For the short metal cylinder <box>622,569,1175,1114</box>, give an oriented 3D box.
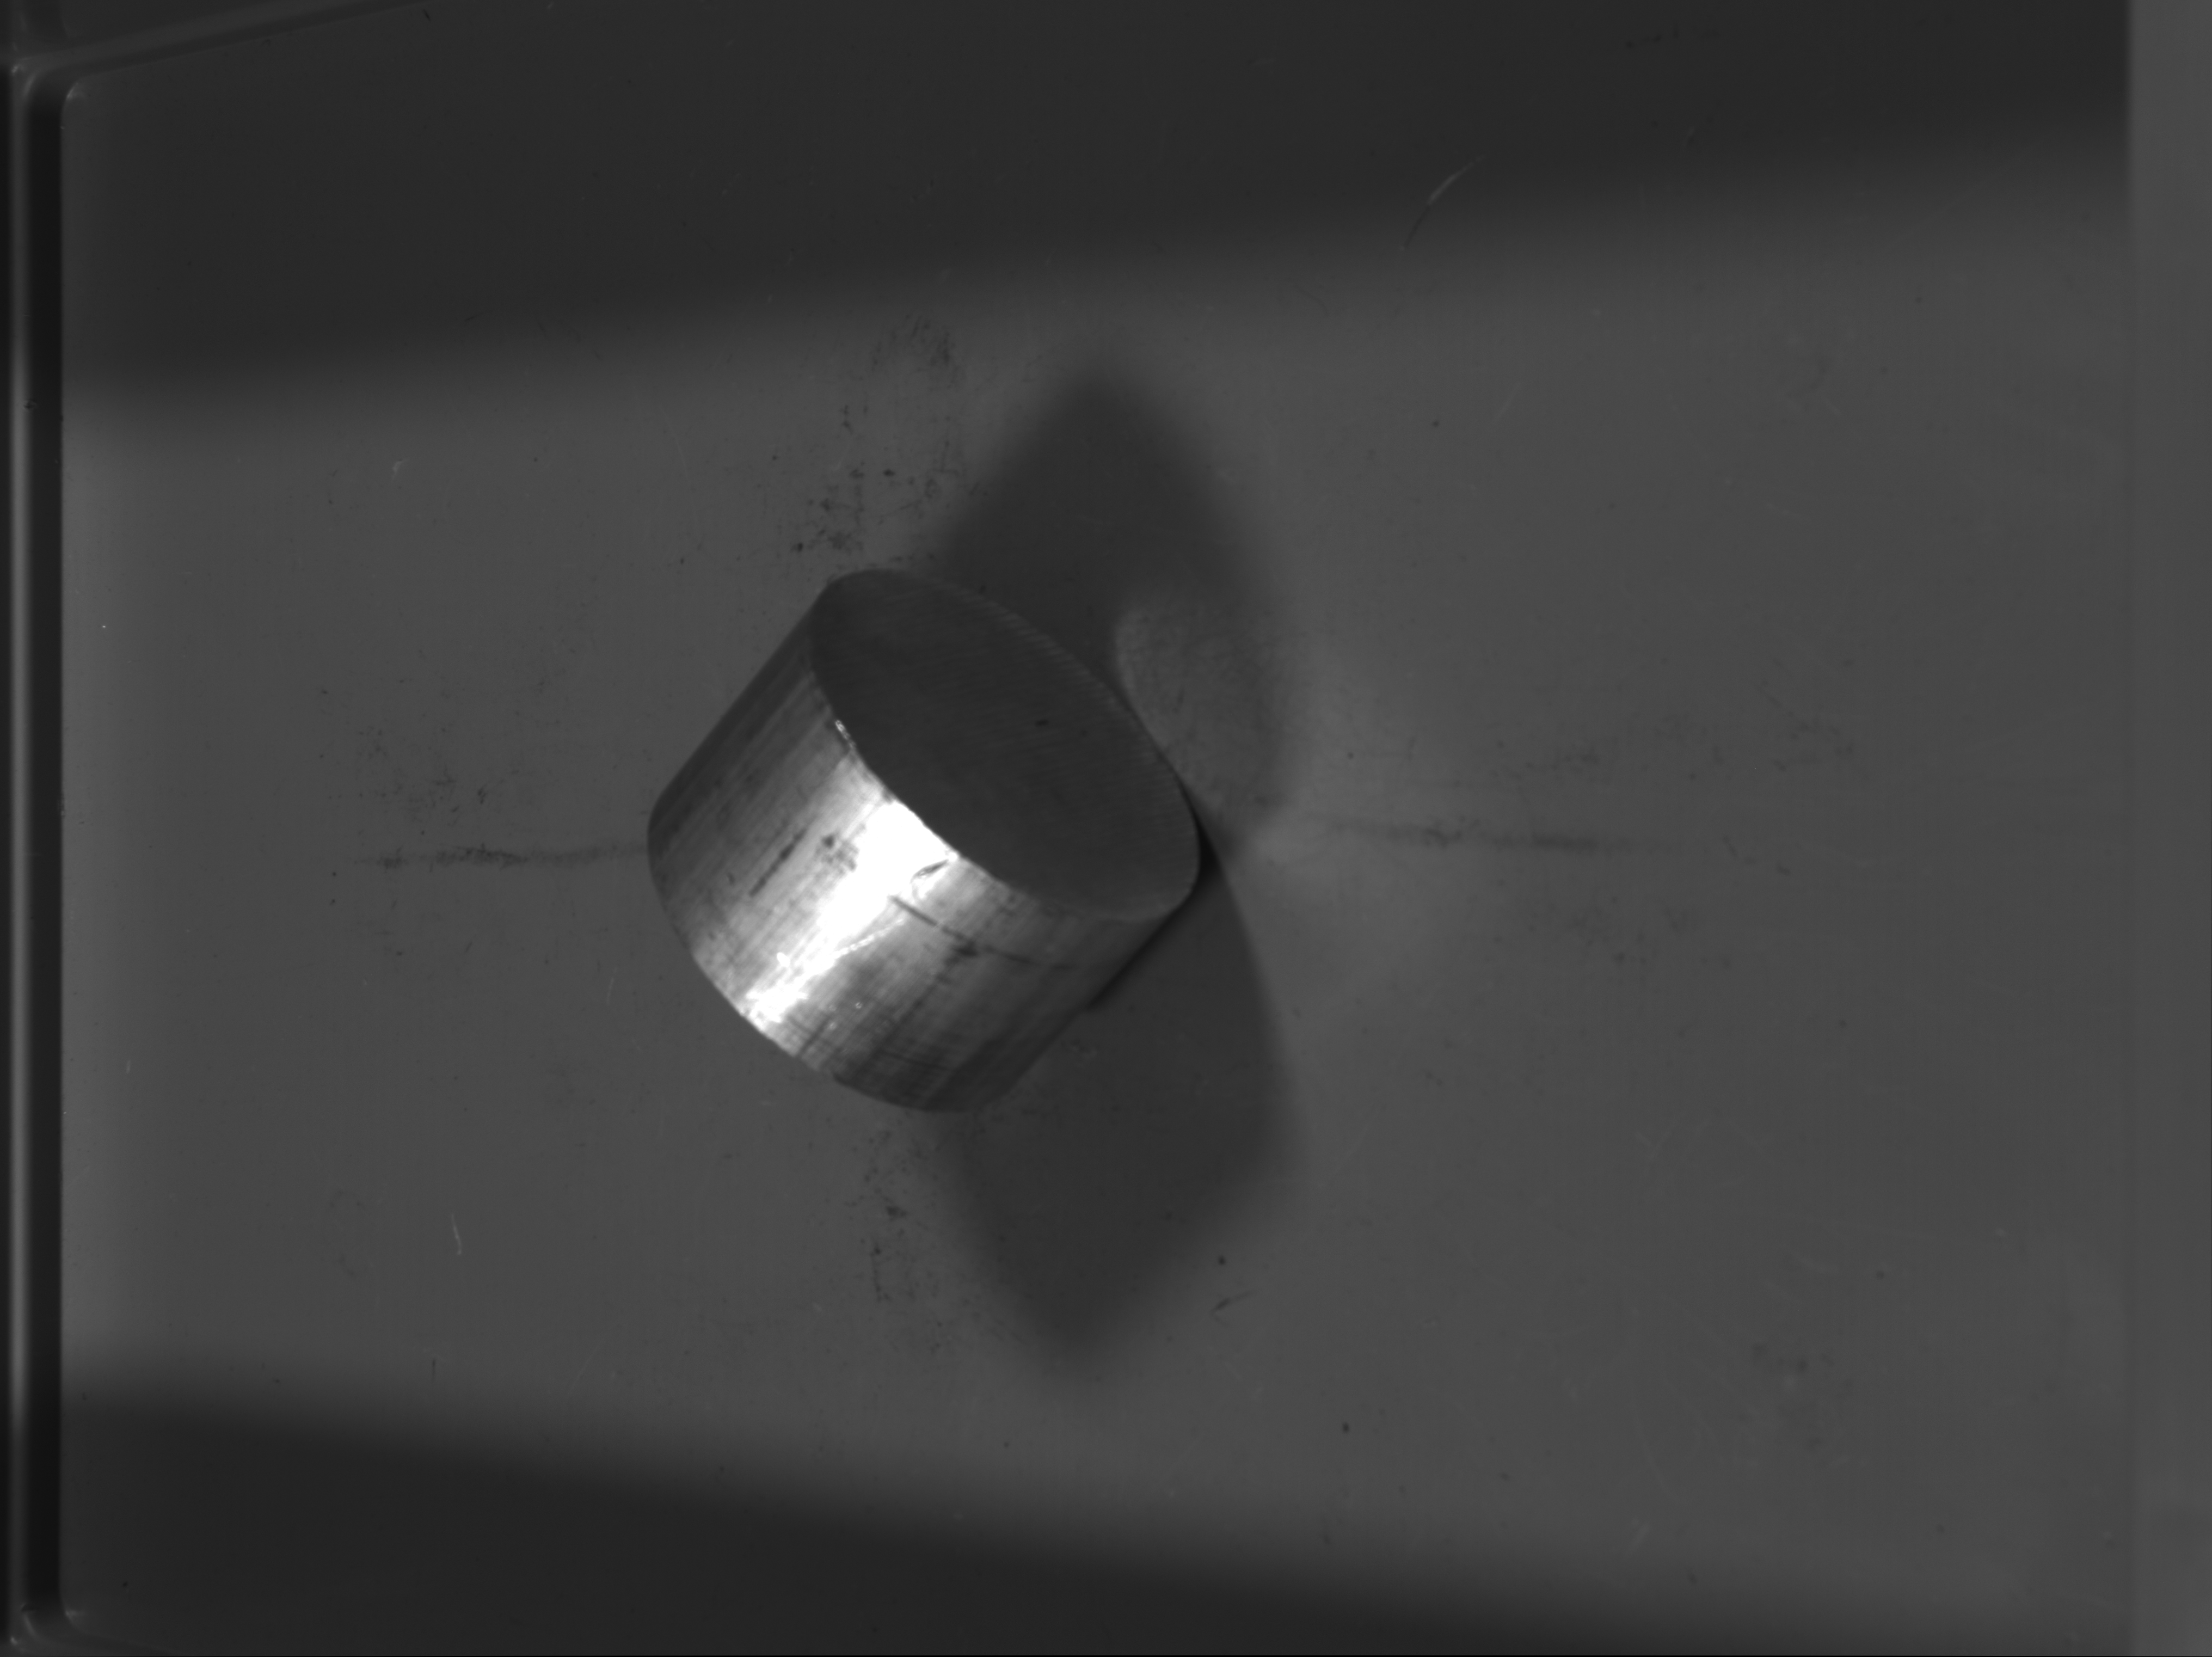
[{"bbox_3d":[-0.035,0.002,0.627,0.050,0.080,0.080,-49,61,28],"label":"short metal cylinder"}]
